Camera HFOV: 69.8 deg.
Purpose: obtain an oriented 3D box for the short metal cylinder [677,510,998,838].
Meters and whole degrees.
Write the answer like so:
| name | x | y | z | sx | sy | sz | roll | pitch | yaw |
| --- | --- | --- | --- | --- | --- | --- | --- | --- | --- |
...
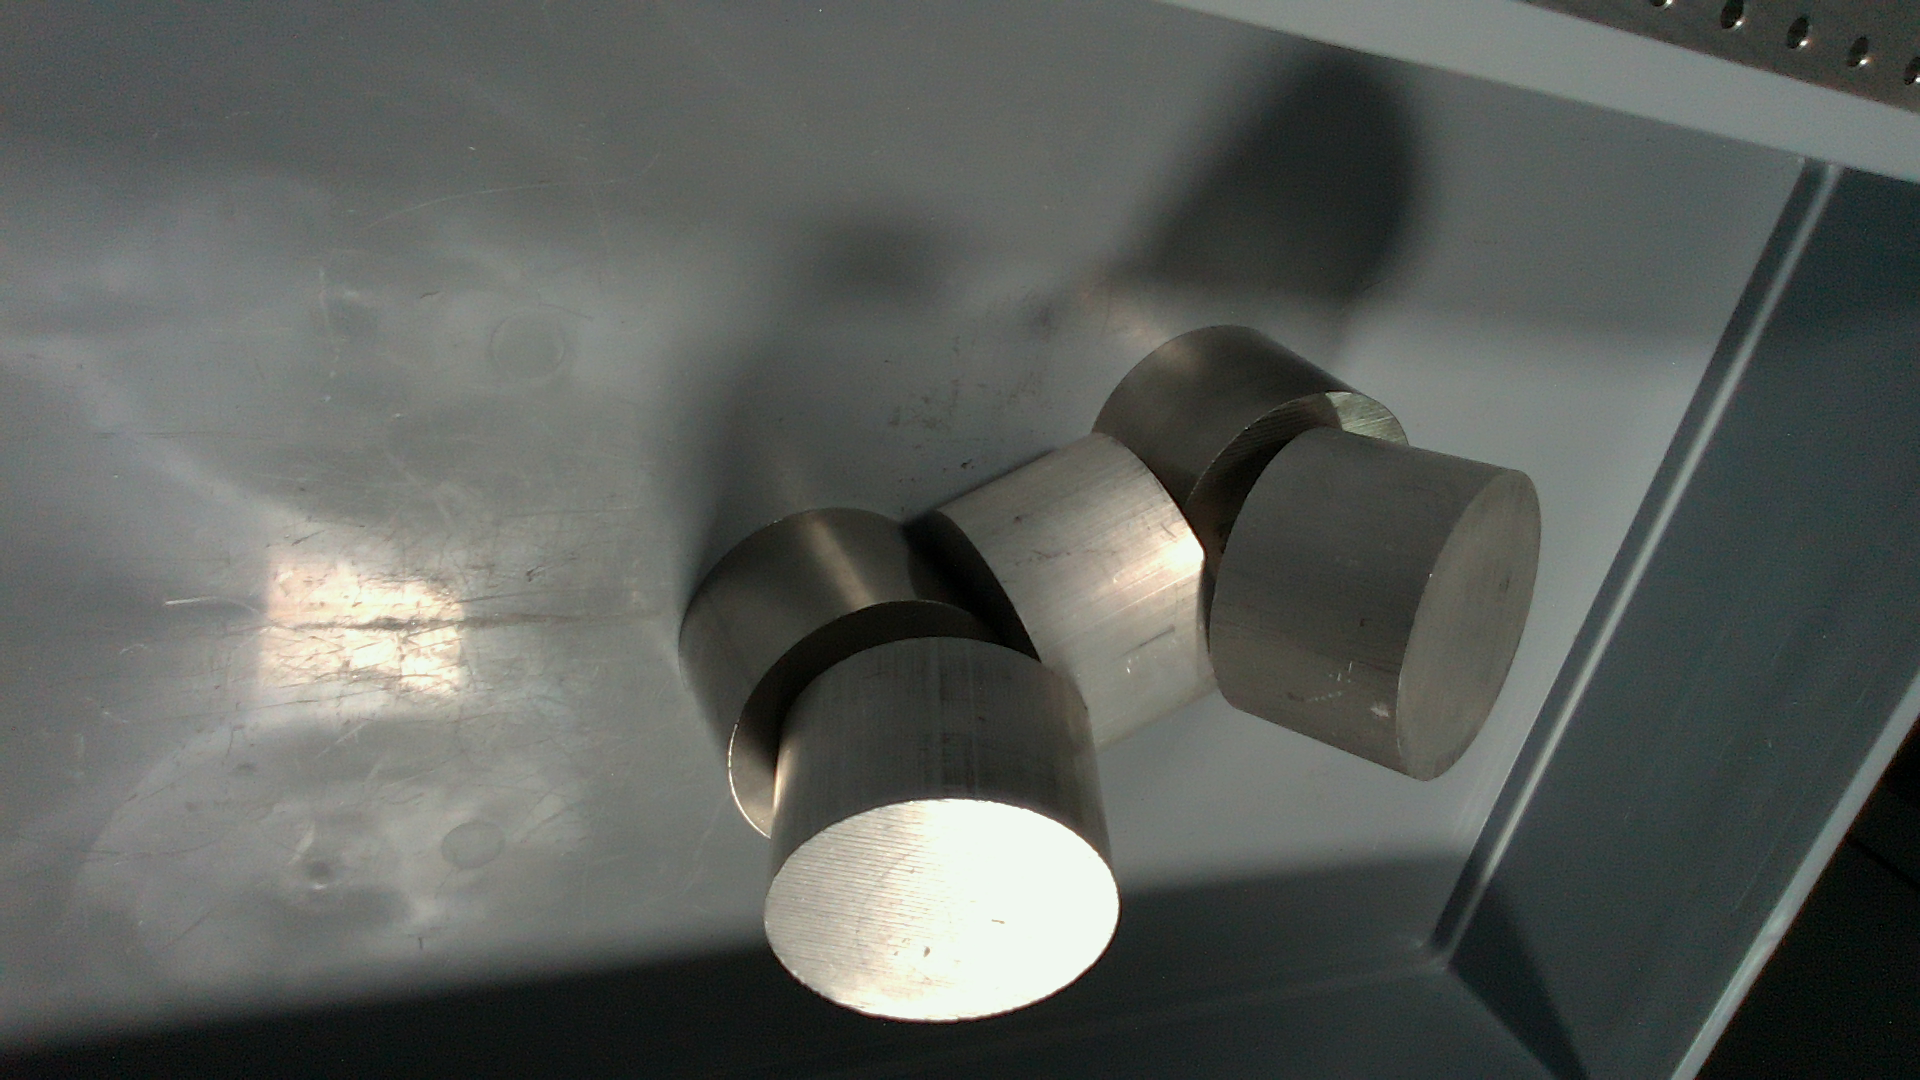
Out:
| name | x | y | z | sx | sy | sz | roll | pitch | yaw |
| --- | --- | --- | --- | --- | --- | --- | --- | --- | --- |
| short metal cylinder | -0.032 | 0.039 | 0.378 | 0.080 | 0.050 | 0.080 | -14 | 124 | -21 |

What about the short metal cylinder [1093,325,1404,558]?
| name | x | y | z | sx | sy | sz | roll | pitch | yaw |
| --- | --- | --- | --- | --- | --- | --- | --- | --- | --- |
| short metal cylinder | 0.083 | -0.017 | 0.406 | 0.080 | 0.050 | 0.080 | -14 | 124 | -21 |

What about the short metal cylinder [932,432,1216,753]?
| name | x | y | z | sx | sy | sz | roll | pitch | yaw |
| --- | --- | --- | --- | --- | --- | --- | --- | --- | --- |
| short metal cylinder | 0.032 | 0.017 | 0.380 | 0.050 | 0.080 | 0.080 | -26 | 128 | -12 |

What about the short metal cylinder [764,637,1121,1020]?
| name | x | y | z | sx | sy | sz | roll | pitch | yaw |
| --- | --- | --- | --- | --- | --- | --- | --- | --- | --- |
| short metal cylinder | -0.005 | 0.070 | 0.329 | 0.080 | 0.050 | 0.080 | -2 | 129 | -2 |

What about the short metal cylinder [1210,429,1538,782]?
| name | x | y | z | sx | sy | sz | roll | pitch | yaw |
| --- | --- | --- | --- | --- | --- | --- | --- | --- | --- |
| short metal cylinder | 0.108 | 0.016 | 0.356 | 0.080 | 0.050 | 0.080 | -23 | 122 | -44 |
